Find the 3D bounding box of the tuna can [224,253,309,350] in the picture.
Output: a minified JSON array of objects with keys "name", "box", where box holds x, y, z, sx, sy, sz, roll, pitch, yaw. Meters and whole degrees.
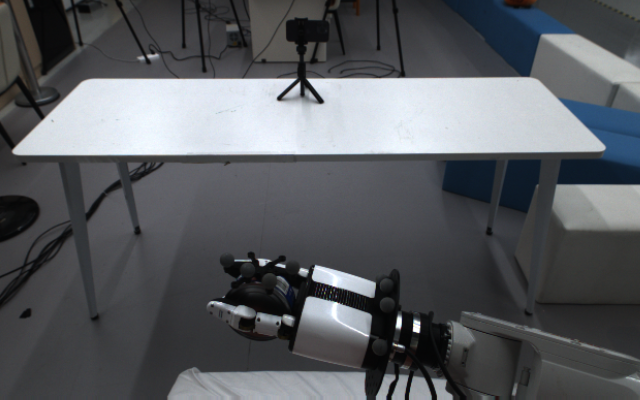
[{"name":"tuna can","box":[-0.071,0.129,0.595,0.085,0.085,0.034,6,22,6]}]
